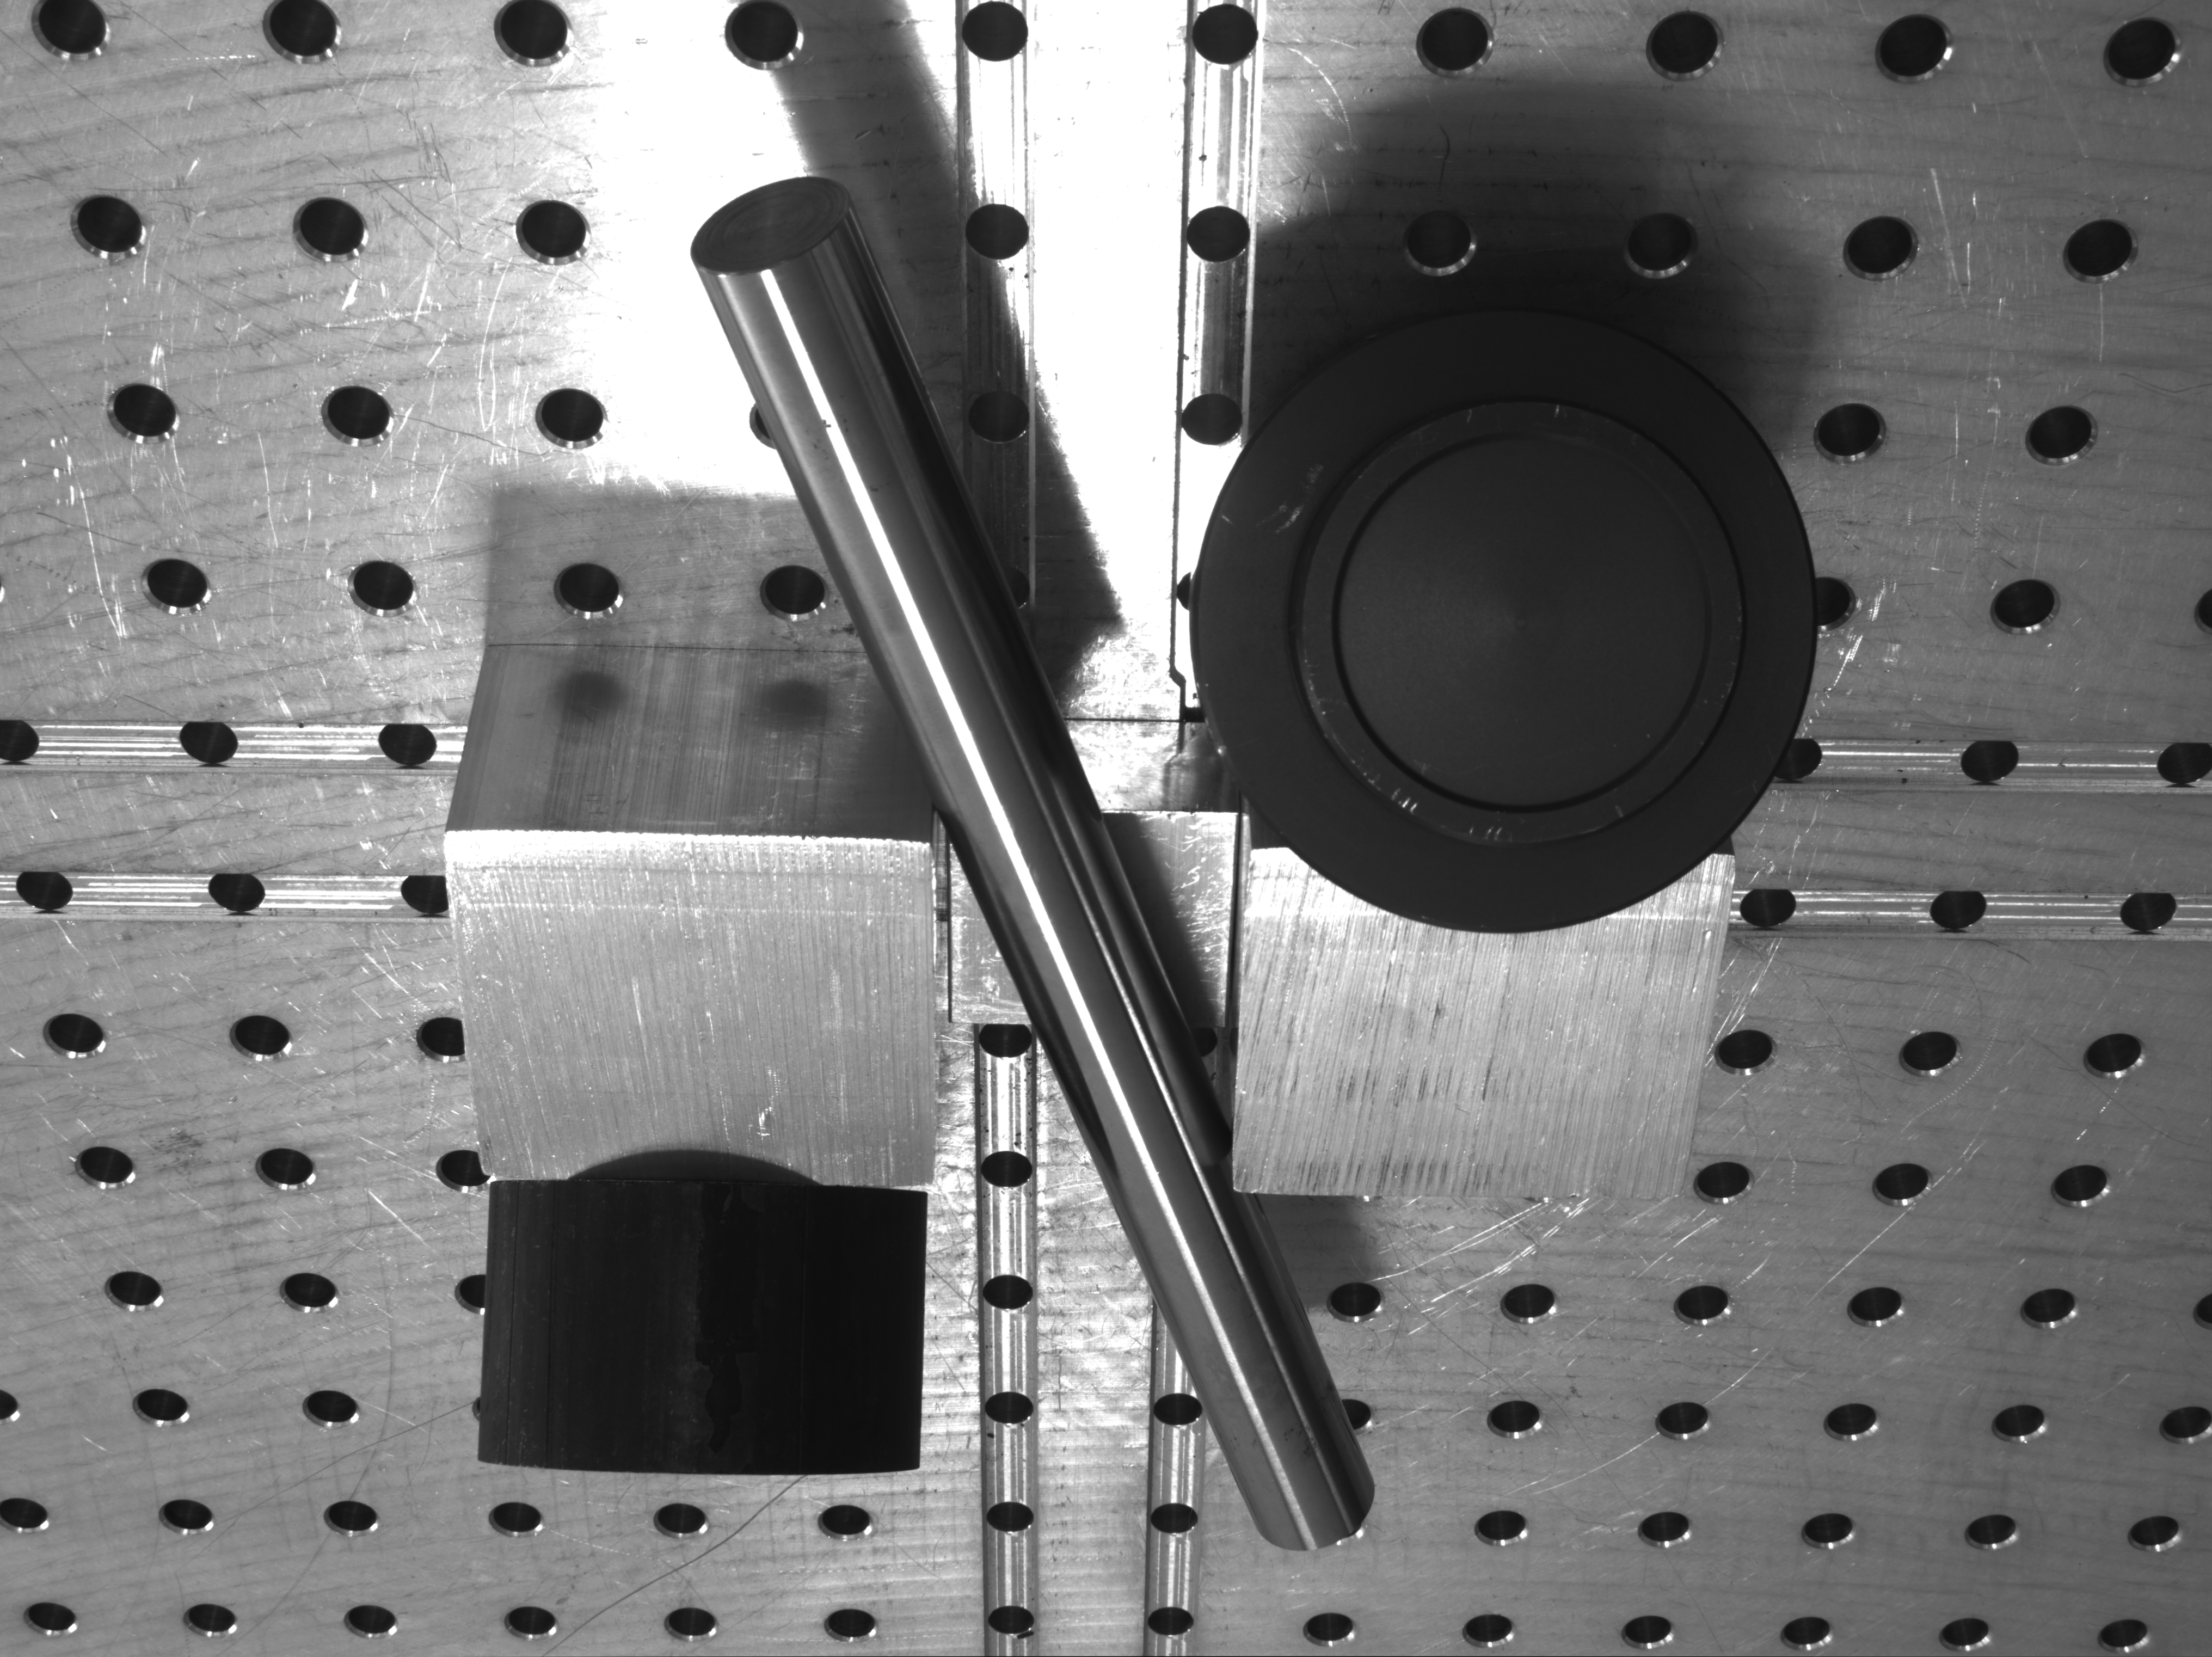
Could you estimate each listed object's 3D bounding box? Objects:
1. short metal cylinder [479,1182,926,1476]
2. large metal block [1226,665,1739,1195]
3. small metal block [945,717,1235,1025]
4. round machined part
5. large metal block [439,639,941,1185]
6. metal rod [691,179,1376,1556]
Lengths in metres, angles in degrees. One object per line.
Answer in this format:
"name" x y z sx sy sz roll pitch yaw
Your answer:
"short metal cylinder" -0.074 0.092 0.675 0.080 0.050 0.080 1 173 0
"large metal block" 0.063 0.018 0.642 0.080 0.050 0.080 1 130 -1
"small metal block" -0.003 0.008 0.650 0.050 0.025 0.050 0 130 0
"round machined part" 0.063 -0.032 0.573 0.098 0.042 0.098 0 95 0
"large metal block" -0.069 0.015 0.640 0.080 0.050 0.080 1 130 -1
"metal rod" -0.004 0.022 0.628 0.025 0.025 0.301 -13 129 11
